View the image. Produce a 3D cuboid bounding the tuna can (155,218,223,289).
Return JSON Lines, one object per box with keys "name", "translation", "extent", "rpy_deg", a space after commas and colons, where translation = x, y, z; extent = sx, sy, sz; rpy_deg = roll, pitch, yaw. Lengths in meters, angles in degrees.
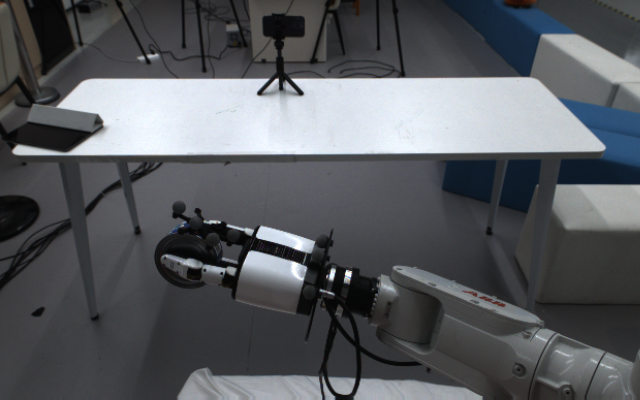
{"name": "tuna can", "translation": [-0.177, 0.077, 0.661], "extent": [0.085, 0.085, 0.034], "rpy_deg": [4, 19, 3]}
